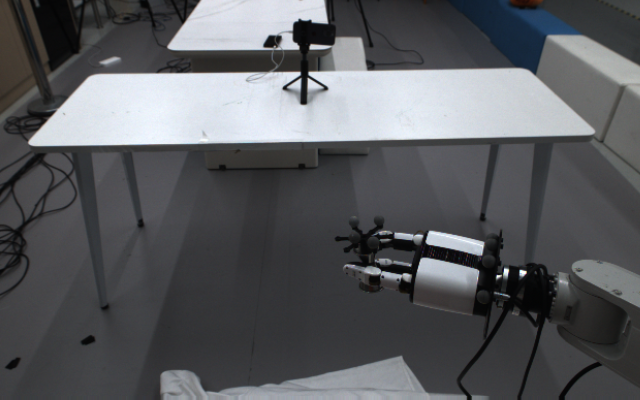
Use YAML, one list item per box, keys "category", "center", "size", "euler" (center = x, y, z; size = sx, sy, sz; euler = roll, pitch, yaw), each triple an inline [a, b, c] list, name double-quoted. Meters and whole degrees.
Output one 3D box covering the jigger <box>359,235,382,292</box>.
- category: "jigger"
  center: [0.077, 0.100, 0.745]
  size: [0.043, 0.071, 0.043]
  euler: [-11, 23, 5]
